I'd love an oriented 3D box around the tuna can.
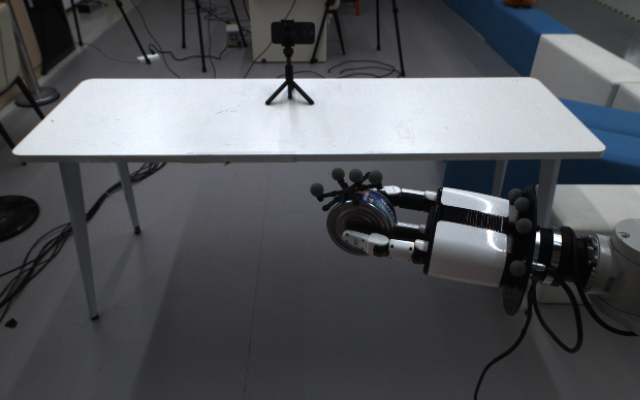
[{"bbox_3d":[0.057,0.035,0.618,0.085,0.085,0.034,11,34,13],"label":"tuna can"}]
